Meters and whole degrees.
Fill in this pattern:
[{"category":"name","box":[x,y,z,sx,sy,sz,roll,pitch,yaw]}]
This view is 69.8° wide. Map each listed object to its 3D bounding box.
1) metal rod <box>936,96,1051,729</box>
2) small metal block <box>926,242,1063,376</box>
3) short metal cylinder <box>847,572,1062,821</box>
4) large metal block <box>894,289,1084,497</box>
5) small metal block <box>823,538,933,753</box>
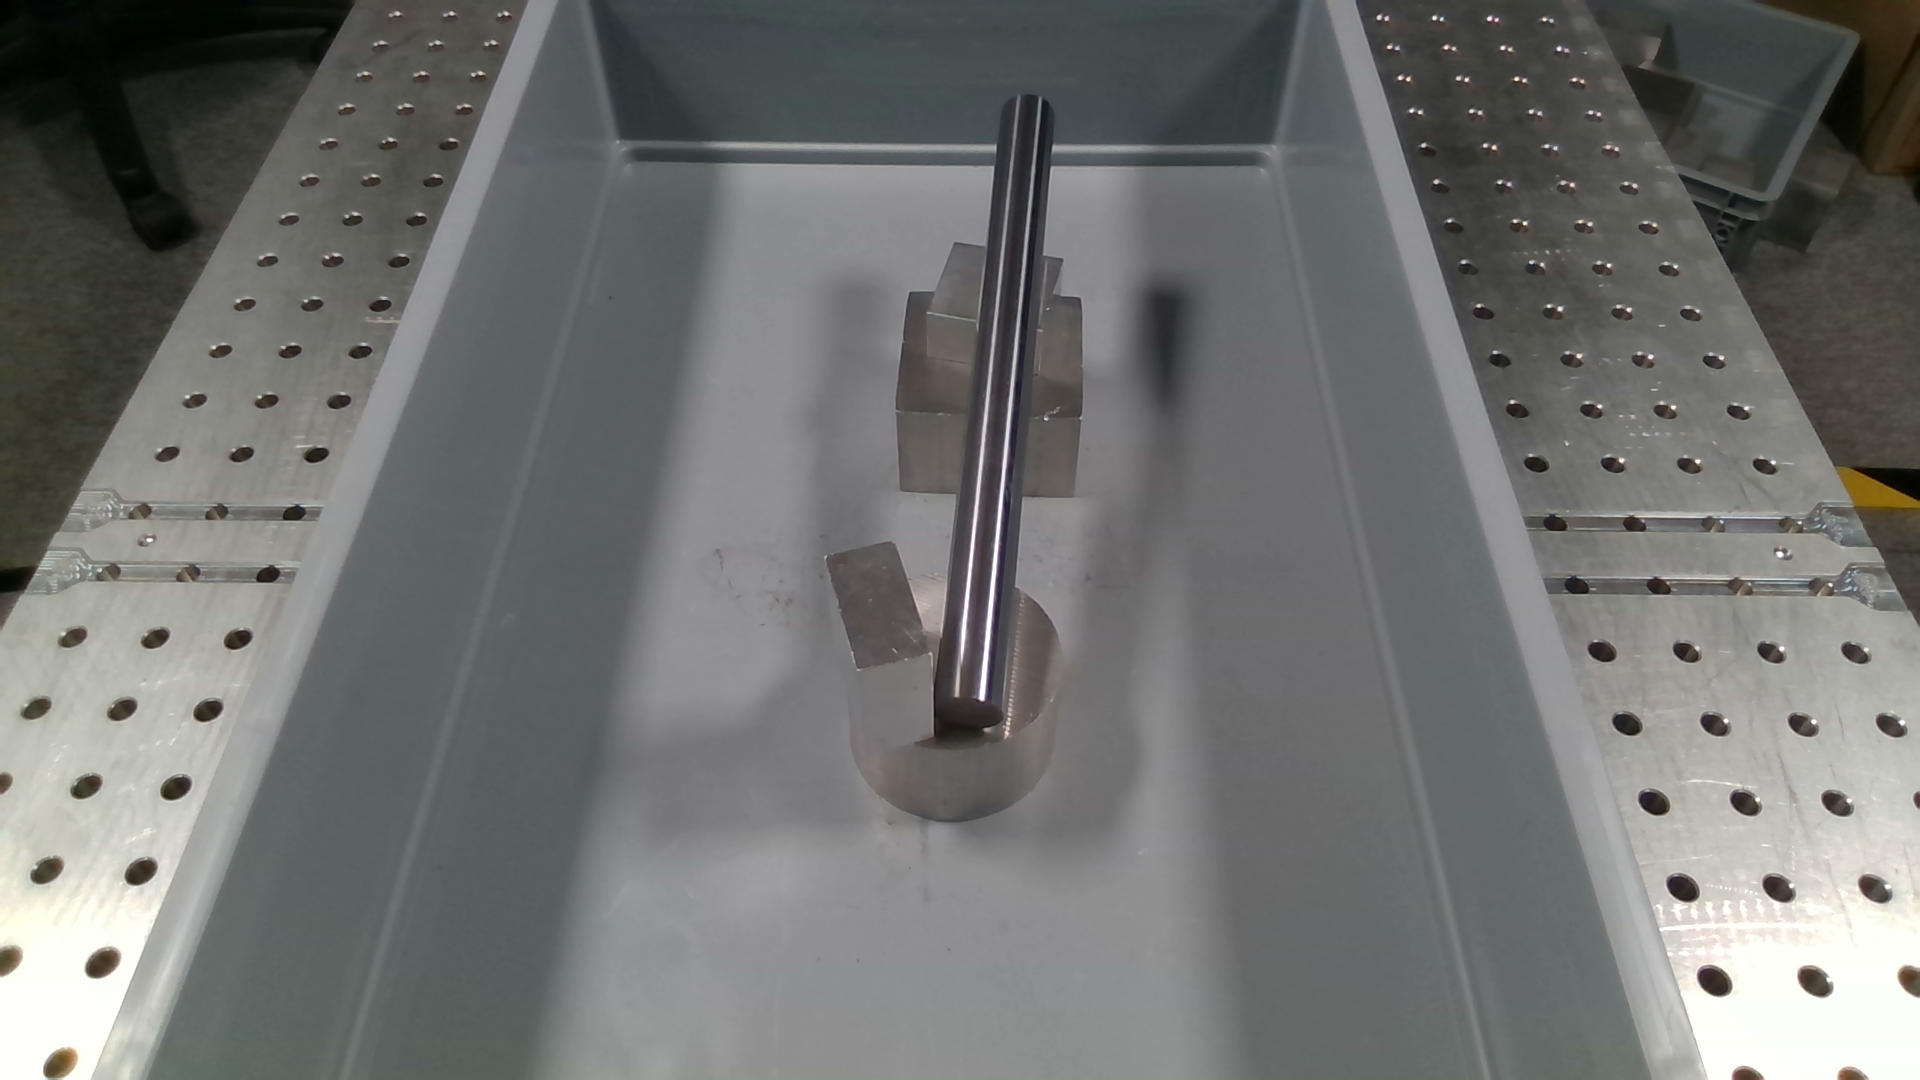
[{"category":"metal rod","box":[0.016,-0.067,0.549,0.025,0.025,0.299,4,58,4]},{"category":"small metal block","box":[0.016,-0.102,0.605,0.050,0.025,0.050,10,51,8]},{"category":"short metal cylinder","box":[-0.003,0.058,0.520,0.080,0.050,0.080,0,50,0]},{"category":"large metal block","box":[0.014,-0.067,0.624,0.080,0.050,0.080,2,50,2]},{"category":"small metal block","box":[-0.028,0.036,0.472,0.025,0.050,0.050,-11,51,-9]}]
